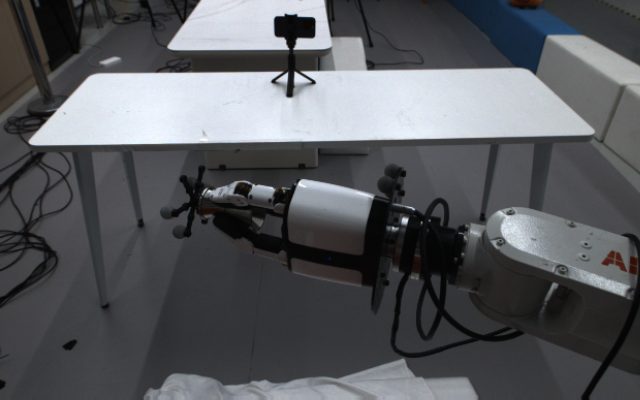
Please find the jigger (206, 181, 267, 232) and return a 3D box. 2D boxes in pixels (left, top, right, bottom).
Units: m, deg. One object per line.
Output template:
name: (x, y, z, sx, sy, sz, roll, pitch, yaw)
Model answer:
jigger: (-0.096, 0.005, 0.567, 0.071, 0.043, 0.043, 10, 35, 15)
